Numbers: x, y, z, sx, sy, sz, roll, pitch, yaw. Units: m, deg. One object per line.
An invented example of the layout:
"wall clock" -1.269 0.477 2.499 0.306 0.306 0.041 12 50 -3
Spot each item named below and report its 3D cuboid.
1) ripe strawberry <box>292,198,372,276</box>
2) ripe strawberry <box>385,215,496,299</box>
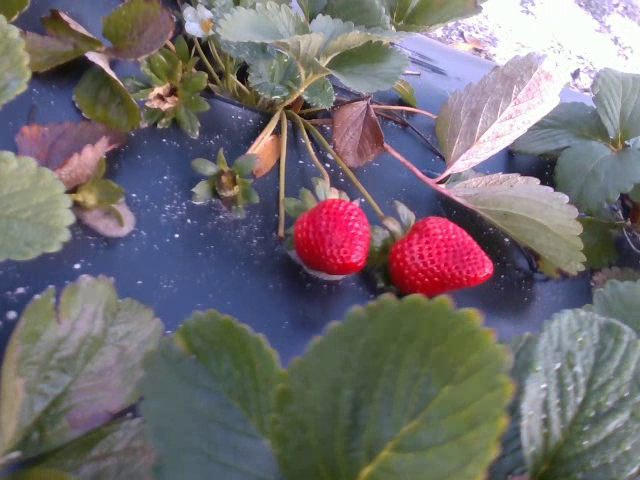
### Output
"ripe strawberry" 0.010 0.001 0.327 0.048 0.041 0.056 3 34 -19
"ripe strawberry" 0.071 0.008 0.337 0.064 0.051 0.057 25 43 38
